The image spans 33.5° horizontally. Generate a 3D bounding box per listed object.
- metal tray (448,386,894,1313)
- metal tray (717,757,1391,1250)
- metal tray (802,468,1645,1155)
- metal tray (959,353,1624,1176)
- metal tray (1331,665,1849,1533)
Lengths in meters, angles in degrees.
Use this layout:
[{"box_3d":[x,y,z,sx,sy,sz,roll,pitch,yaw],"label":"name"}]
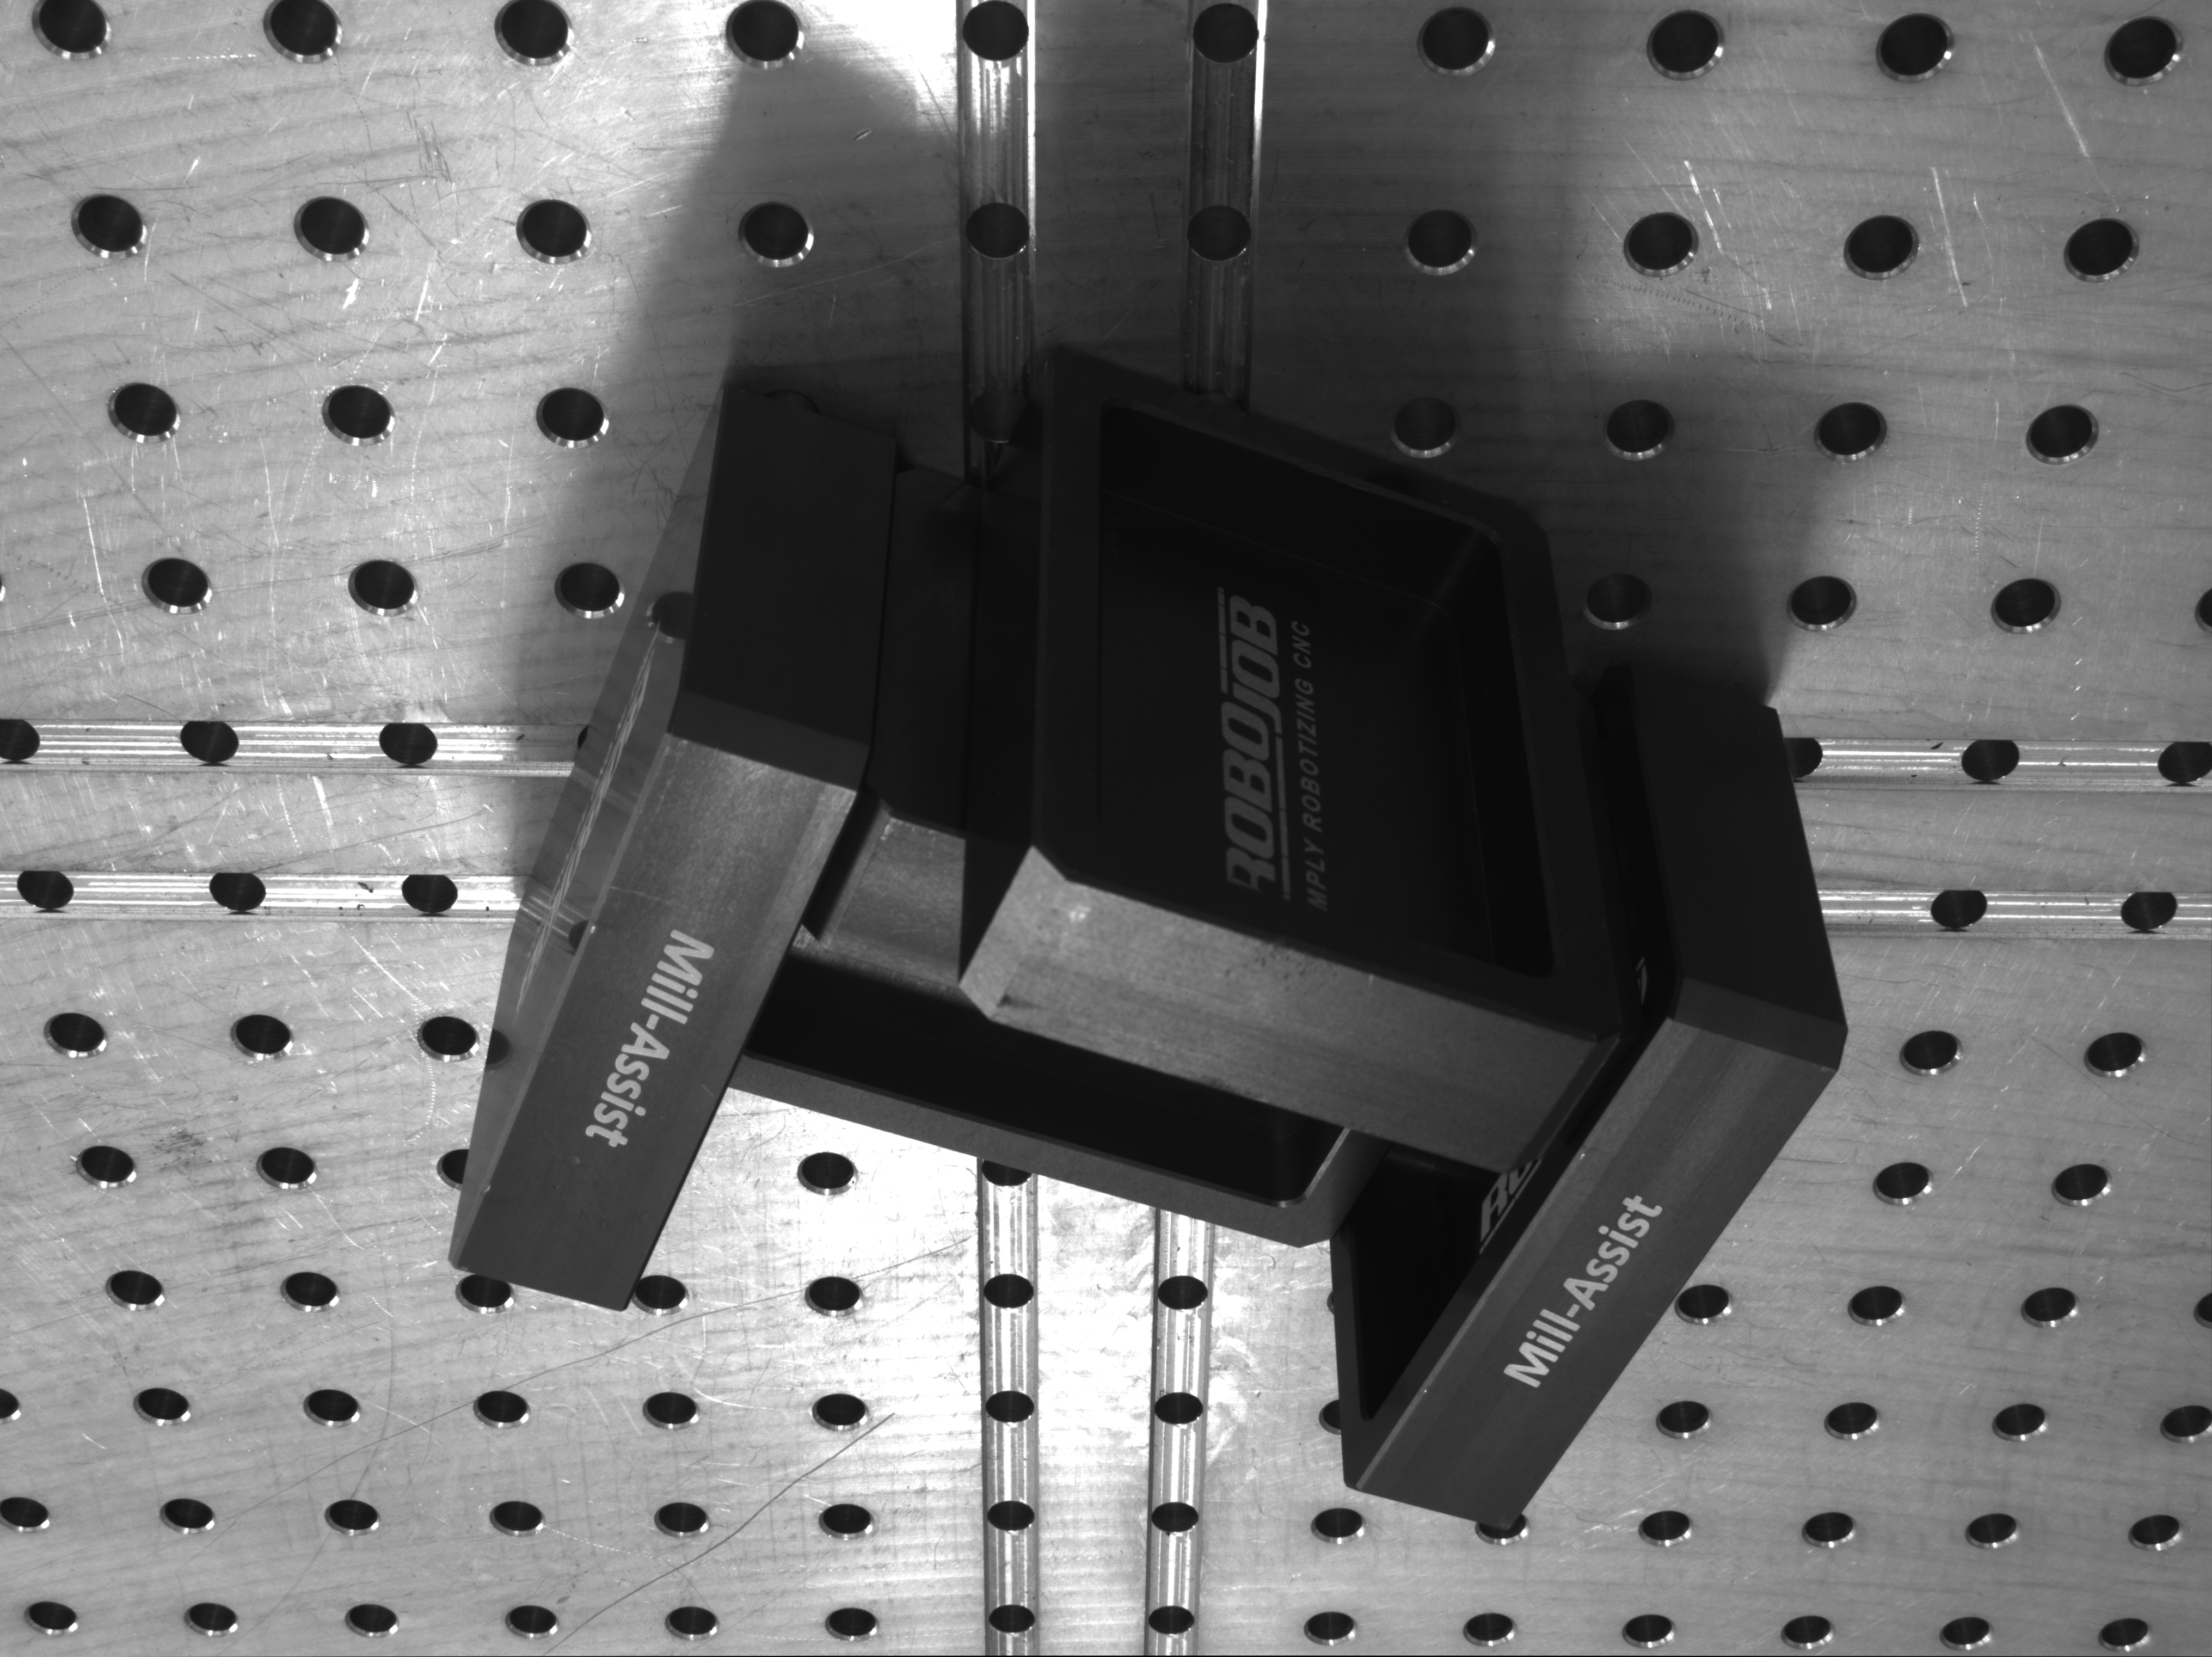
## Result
[{"box_3d":[-0.072,0.005,0.604,0.030,0.090,0.130,17,128,-14],"label":"metal tray"},{"box_3d":[-0.003,0.021,0.656,0.130,0.030,0.090,17,128,-14],"label":"metal tray"},{"box_3d":[0.019,-0.004,0.597,0.130,0.090,0.030,17,128,-14],"label":"metal tray"},{"box_3d":[0.026,-0.013,0.562,0.090,0.130,0.030,17,128,-14],"label":"metal tray"},{"box_3d":[0.079,0.048,0.640,0.030,0.090,0.130,17,128,-13],"label":"metal tray"}]
